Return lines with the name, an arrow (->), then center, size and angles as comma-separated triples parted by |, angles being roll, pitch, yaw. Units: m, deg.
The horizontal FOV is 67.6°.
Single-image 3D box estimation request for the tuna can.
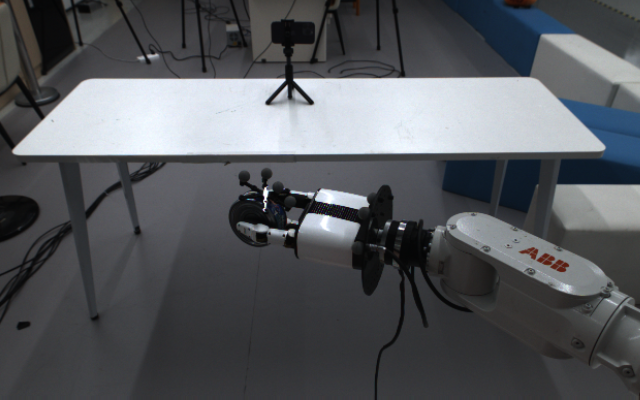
tuna can -> -0.093, 0.036, 0.740 | 0.085, 0.085, 0.034 | 15, 30, 18
